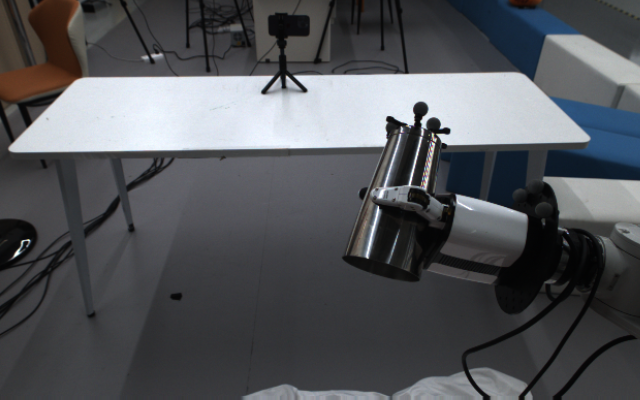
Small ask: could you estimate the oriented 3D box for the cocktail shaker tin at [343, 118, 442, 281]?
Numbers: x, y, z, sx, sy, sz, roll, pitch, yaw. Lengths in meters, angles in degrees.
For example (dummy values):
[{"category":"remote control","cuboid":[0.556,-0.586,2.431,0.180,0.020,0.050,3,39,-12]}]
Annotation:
[{"category":"cocktail shaker tin","cuboid":[0.094,0.002,0.577,0.093,0.093,0.170,14,74,16]}]
